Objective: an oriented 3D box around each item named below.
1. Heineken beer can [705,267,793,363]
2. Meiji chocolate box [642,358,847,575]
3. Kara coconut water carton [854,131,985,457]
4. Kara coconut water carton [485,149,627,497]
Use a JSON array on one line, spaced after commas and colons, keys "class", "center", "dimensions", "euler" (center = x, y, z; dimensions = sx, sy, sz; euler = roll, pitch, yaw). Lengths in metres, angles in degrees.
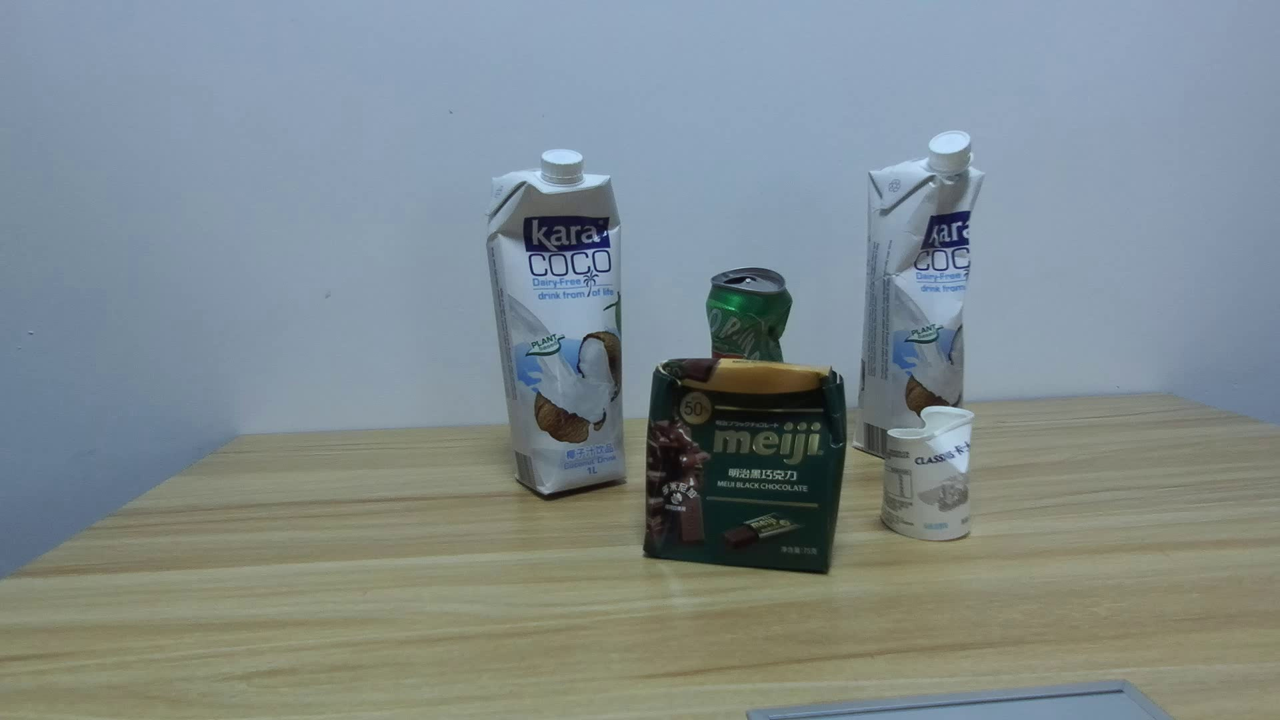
[{"class": "Heineken beer can", "center": [0.086, 0.011, 0.543], "dimensions": [0.067, 0.159, 0.078], "euler": [-6, 15, -4]}, {"class": "Meiji chocolate box", "center": [0.060, 0.064, 0.426], "dimensions": [0.113, 0.110, 0.058], "euler": [1, -4, 16]}, {"class": "Kara coconut water carton", "center": [0.222, -0.047, 0.569], "dimensions": [0.083, 0.255, 0.078], "euler": [-4, 12, -16]}, {"class": "Kara coconut water carton", "center": [-0.057, -0.028, 0.527], "dimensions": [0.100, 0.244, 0.071], "euler": [-10, 12, -29]}]
